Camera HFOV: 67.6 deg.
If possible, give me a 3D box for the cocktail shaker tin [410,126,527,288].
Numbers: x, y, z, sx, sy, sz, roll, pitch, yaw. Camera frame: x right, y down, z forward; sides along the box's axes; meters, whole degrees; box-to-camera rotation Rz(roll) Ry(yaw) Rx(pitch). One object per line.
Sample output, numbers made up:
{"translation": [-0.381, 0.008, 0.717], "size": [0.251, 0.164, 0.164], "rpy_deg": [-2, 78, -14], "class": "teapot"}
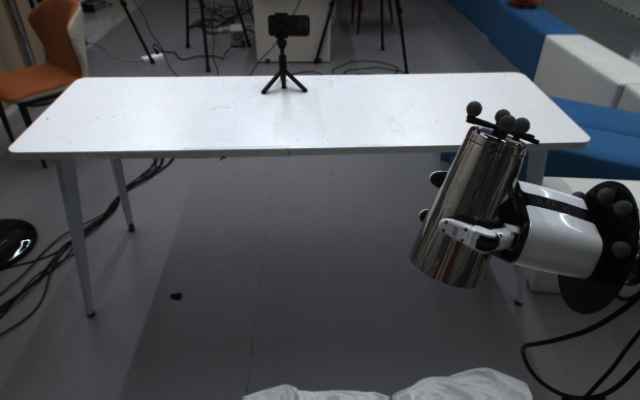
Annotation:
{"translation": [0.178, 0.005, 0.568], "size": [0.093, 0.170, 0.093], "rpy_deg": [14, 19, -5], "class": "cocktail shaker tin"}
